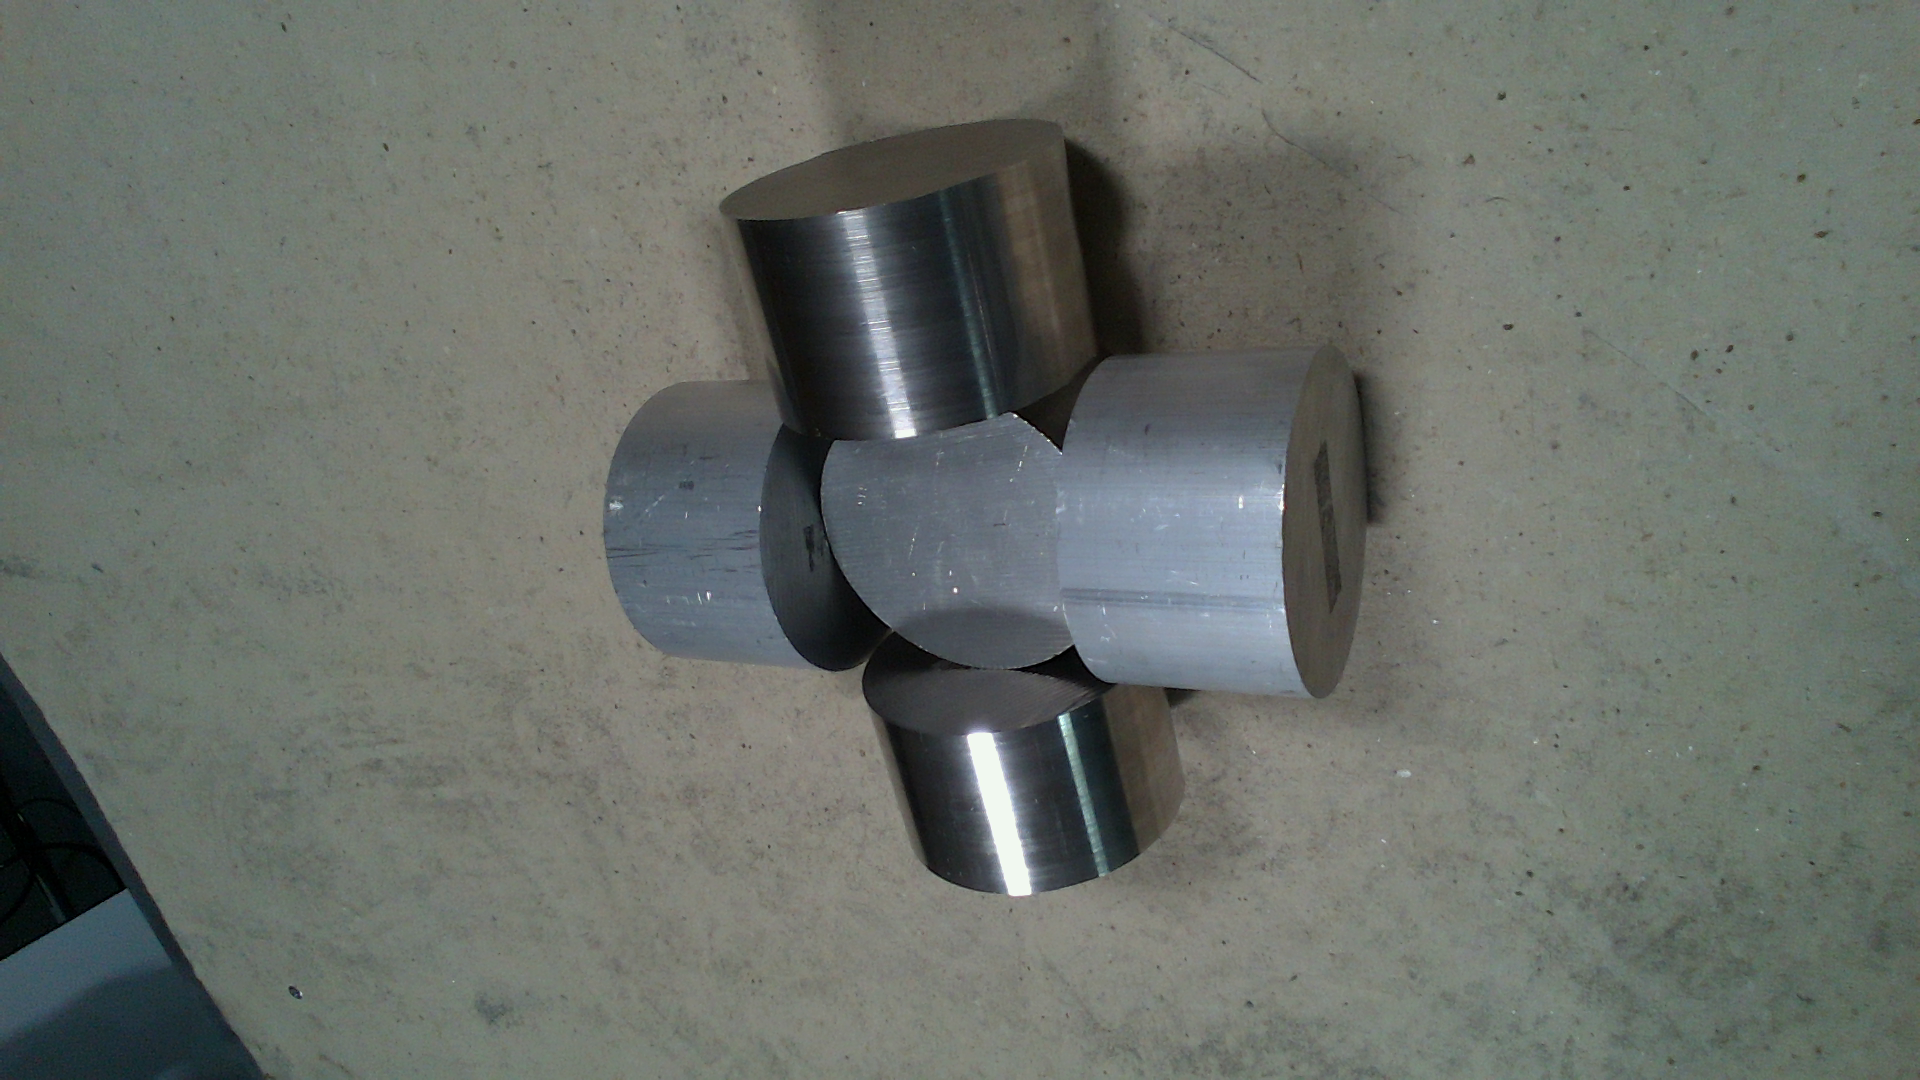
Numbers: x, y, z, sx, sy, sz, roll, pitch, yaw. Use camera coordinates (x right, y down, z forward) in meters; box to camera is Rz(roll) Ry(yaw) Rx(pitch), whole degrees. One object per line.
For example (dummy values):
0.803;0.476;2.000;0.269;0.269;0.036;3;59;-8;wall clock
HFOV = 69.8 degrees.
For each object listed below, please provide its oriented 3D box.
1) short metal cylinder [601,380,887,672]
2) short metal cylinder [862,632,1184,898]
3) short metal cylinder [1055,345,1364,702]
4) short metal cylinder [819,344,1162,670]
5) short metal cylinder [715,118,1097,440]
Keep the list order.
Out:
-0.053;-0.005;0.383;0.050;0.080;0.080;2;119;28;short metal cylinder
0.018;0.052;0.380;0.080;0.080;0.050;0;118;28;short metal cylinder
0.062;-0.004;0.322;0.050;0.080;0.080;2;119;28;short metal cylinder
0.010;-0.013;0.364;0.080;0.050;0.080;13;124;21;short metal cylinder
-0.011;-0.063;0.323;0.080;0.080;0.050;2;120;28;short metal cylinder
